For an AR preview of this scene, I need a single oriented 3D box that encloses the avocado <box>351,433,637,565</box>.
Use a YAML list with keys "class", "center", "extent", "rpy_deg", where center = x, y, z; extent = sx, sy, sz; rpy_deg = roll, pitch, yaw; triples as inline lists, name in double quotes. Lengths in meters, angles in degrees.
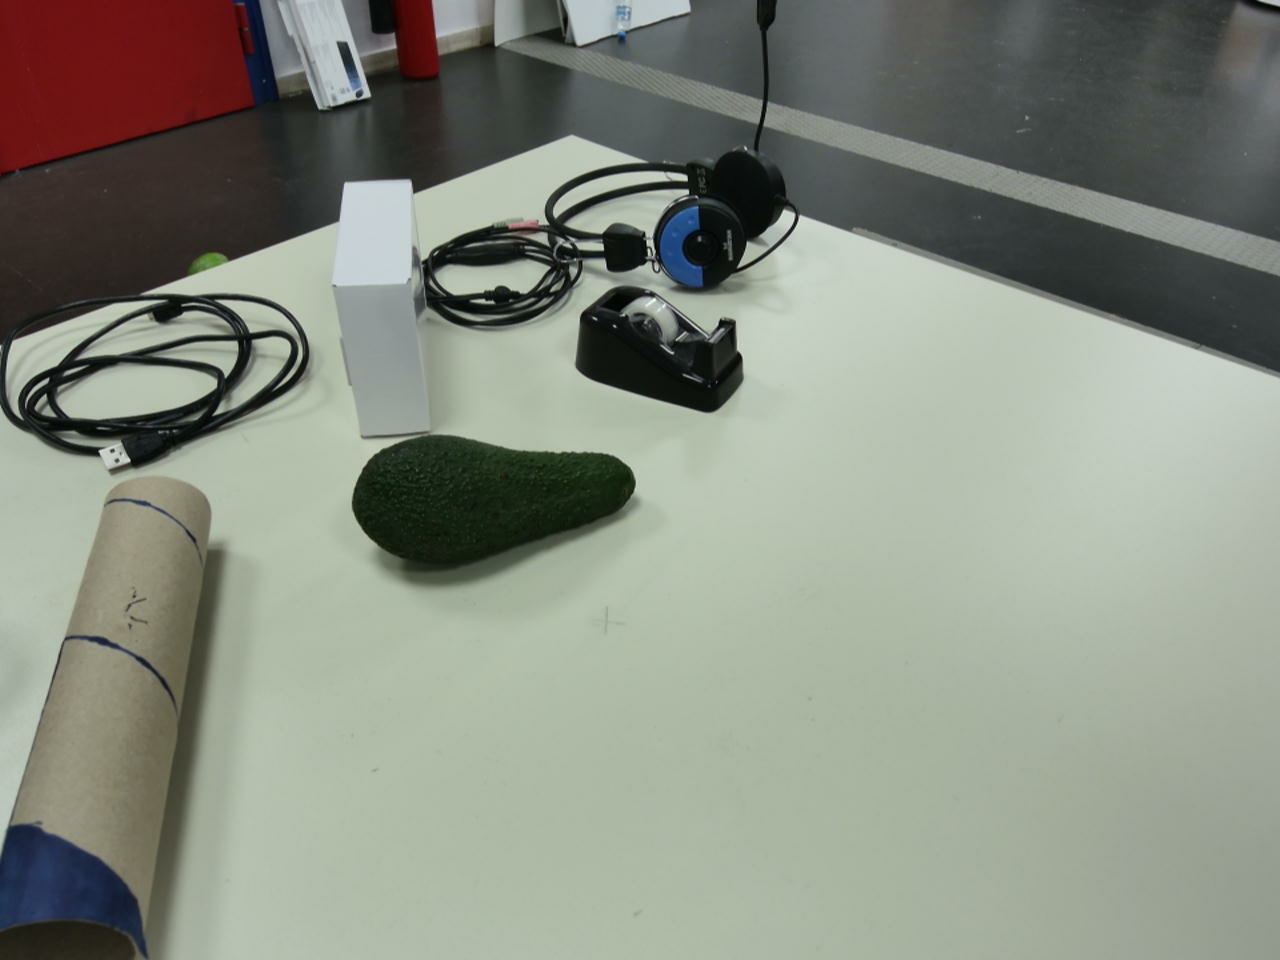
- class: "avocado"
  center: [-0.071, -0.002, 0.491]
  extent: [0.141, 0.067, 0.063]
  rpy_deg: [-22, 43, -28]
